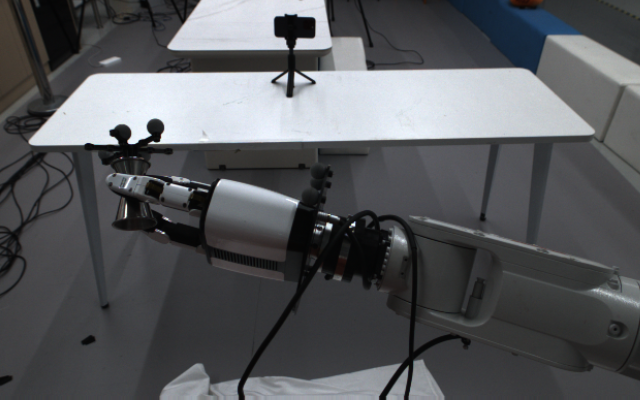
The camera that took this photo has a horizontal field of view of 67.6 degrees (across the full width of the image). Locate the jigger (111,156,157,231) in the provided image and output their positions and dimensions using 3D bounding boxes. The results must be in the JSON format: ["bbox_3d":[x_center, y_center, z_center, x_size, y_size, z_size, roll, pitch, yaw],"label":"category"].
[{"bbox_3d":[-0.195,-0.006,0.509,0.043,0.043,0.071,-7,73,-13],"label":"jigger"}]
